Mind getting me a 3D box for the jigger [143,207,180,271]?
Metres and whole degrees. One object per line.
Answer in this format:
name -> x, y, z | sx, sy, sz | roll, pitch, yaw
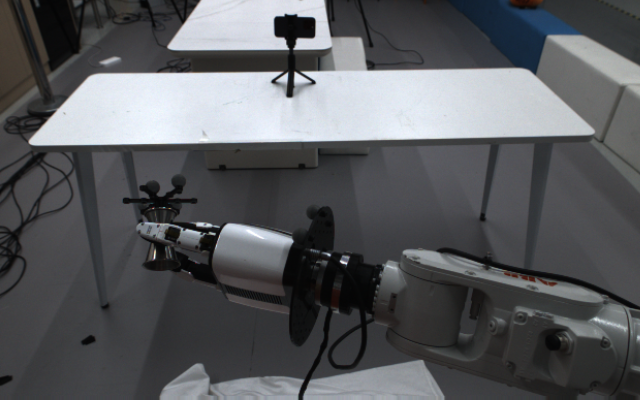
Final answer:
jigger -> -0.193, 0.048, 0.591 | 0.043, 0.043, 0.071 | -5, 67, -10
